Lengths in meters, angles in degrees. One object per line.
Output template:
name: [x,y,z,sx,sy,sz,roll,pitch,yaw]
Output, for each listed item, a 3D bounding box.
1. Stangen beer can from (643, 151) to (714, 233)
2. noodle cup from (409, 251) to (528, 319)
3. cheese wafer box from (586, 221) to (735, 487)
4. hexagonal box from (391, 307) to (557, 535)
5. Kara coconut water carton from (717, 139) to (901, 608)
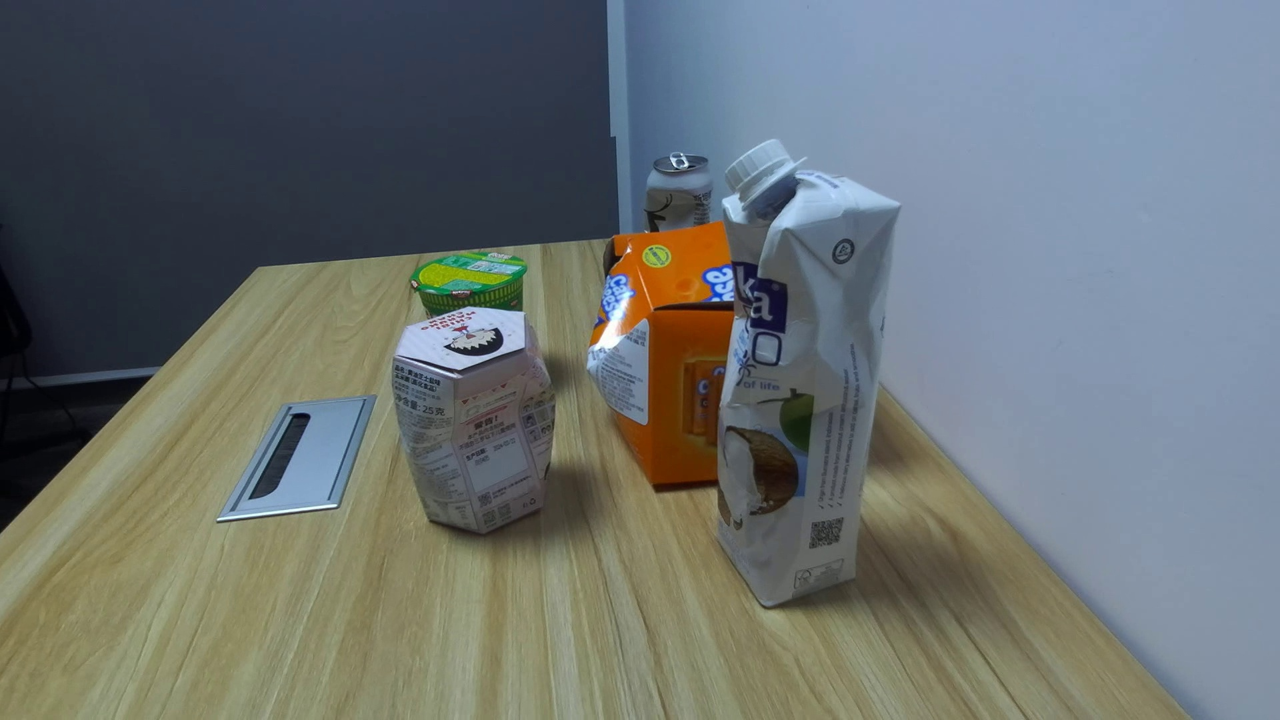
Stangen beer can: [0.049,-0.158,0.854,0.070,0.173,0.070,-16,33,-13]
noodle cup: [-0.144,-0.026,0.629,0.097,0.110,0.097,-2,25,1]
cheese wafer box: [0.052,-0.022,0.565,0.191,0.145,0.218,-5,28,-6]
hexagonal box: [-0.105,0.041,0.471,0.091,0.134,0.090,0,31,3]
Kara coconut water carton: [0.082,0.011,0.380,0.078,0.256,0.083,-7,29,-5]
